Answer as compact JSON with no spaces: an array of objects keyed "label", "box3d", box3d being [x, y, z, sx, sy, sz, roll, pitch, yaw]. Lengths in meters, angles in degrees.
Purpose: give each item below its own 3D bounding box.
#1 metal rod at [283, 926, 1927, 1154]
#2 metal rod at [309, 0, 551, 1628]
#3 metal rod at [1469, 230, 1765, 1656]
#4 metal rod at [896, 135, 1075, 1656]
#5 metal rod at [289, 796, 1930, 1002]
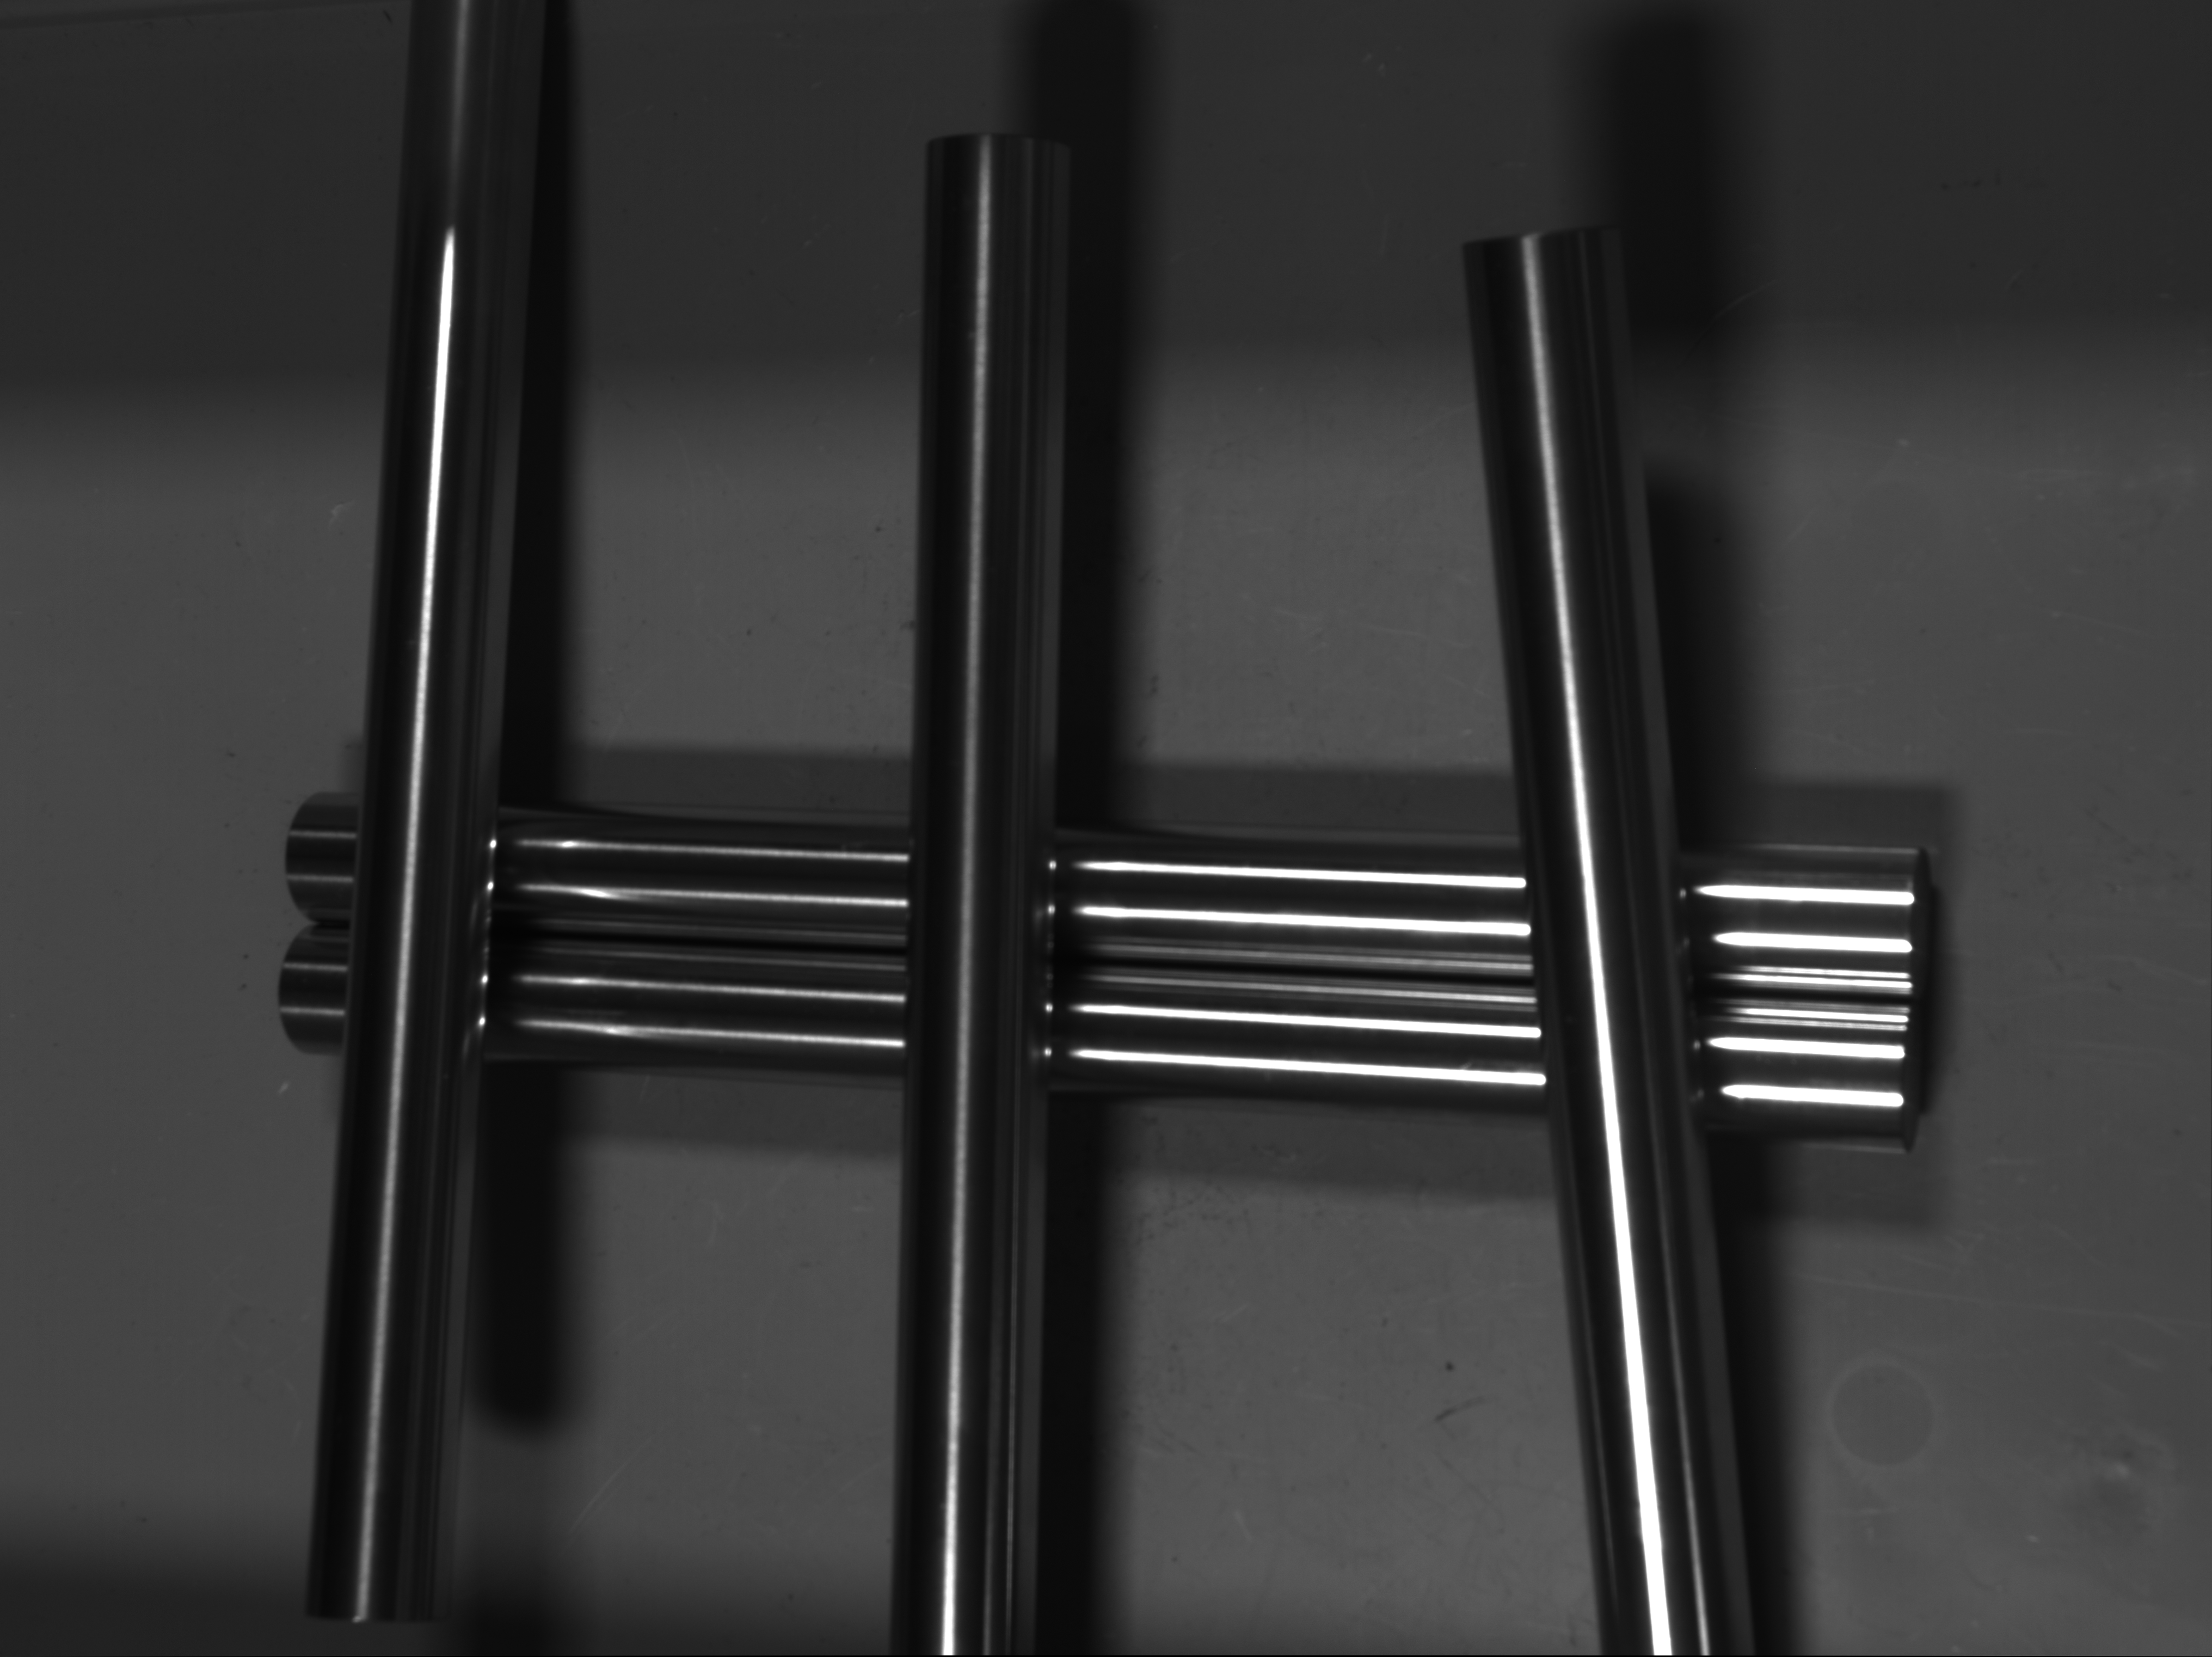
[{"label":"metal rod","box3d":[-0.009,0.036,0.647,0.299,0.025,0.025,2,91,20]},{"label":"metal rod","box3d":[-0.121,-0.010,0.661,0.025,0.025,0.300,-1,81,20]},{"label":"metal rod","box3d":[0.086,0.056,0.589,0.025,0.025,0.300,-4,97,20]},{"label":"metal rod","box3d":[-0.021,0.034,0.624,0.025,0.025,0.300,1,91,20]},{"label":"metal rod","box3d":[-0.008,0.011,0.646,0.299,0.025,0.025,2,91,20]}]
